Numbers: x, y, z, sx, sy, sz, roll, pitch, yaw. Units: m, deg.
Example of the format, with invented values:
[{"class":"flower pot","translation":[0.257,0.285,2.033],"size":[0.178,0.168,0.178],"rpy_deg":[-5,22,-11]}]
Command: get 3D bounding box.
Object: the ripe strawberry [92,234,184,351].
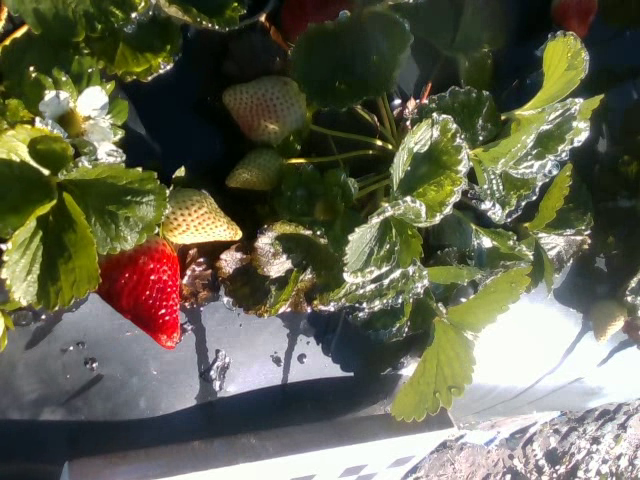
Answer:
[{"class":"ripe strawberry","translation":[-0.075,0.025,0.259],"size":[0.040,0.053,0.042],"rpy_deg":[-24,-8,-4]}]
